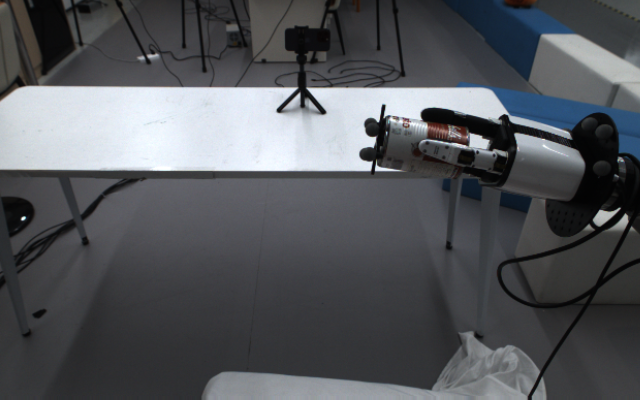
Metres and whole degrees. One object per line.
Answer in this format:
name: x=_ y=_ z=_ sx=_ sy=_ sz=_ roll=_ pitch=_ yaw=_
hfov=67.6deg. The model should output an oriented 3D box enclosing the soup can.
soup can: x=0.131 y=-0.068 z=0.615 sx=0.101 sy=0.067 sz=0.067 roll=9 pitch=35 yaw=0
